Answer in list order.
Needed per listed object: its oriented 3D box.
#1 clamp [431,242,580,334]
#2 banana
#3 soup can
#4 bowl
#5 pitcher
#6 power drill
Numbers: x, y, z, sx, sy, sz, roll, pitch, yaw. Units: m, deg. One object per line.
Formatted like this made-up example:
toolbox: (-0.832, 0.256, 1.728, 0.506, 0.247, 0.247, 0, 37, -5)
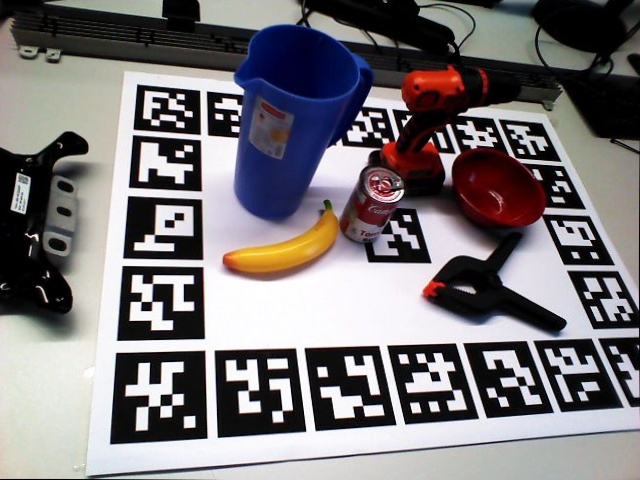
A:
clamp: (0.253, 0.060, 0.733, 0.202, 0.037, 0.164, -2, 62, -17)
banana: (-0.039, 0.006, 0.697, 0.196, 0.039, 0.074, -23, 58, -29)
soup can: (0.081, -0.054, 0.729, 0.068, 0.102, 0.067, 8, 47, -9)
bowl: (0.288, -0.073, 0.828, 0.161, 0.055, 0.160, 7, 57, -11)
pitcher: (-0.028, -0.145, 0.671, 0.188, 0.244, 0.133, -23, 63, -28)
power drill: (0.194, -0.168, 0.761, 0.184, 0.188, 0.057, -4, 59, -19)
